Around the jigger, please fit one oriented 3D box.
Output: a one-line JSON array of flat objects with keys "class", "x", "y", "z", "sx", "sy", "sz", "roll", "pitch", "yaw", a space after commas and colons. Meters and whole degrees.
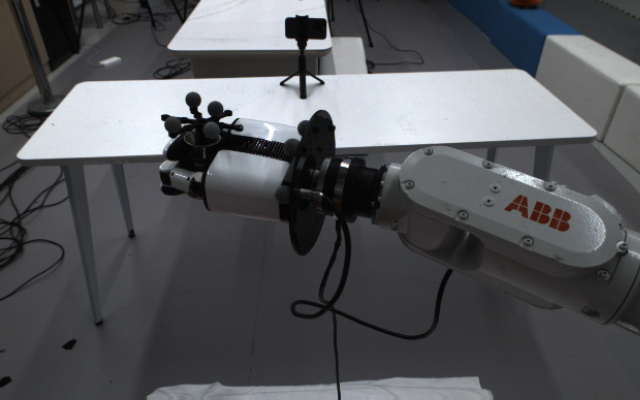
[{"class": "jigger", "x": -0.131, "y": -0.039, "z": 0.554, "sx": 0.043, "sy": 0.071, "sz": 0.043, "roll": 6, "pitch": 32, "yaw": -4}]
